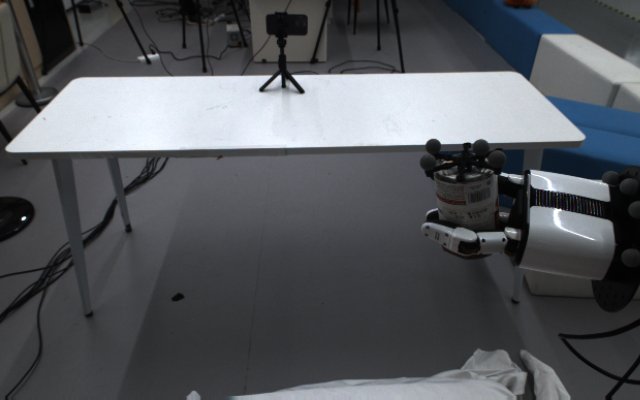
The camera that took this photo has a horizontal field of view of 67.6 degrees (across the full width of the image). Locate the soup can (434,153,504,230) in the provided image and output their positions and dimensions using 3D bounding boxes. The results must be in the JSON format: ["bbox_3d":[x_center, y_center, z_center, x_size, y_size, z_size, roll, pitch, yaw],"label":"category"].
[{"bbox_3d":[0.169,0.006,0.546,0.067,0.101,0.067,-11,28,6],"label":"soup can"}]
